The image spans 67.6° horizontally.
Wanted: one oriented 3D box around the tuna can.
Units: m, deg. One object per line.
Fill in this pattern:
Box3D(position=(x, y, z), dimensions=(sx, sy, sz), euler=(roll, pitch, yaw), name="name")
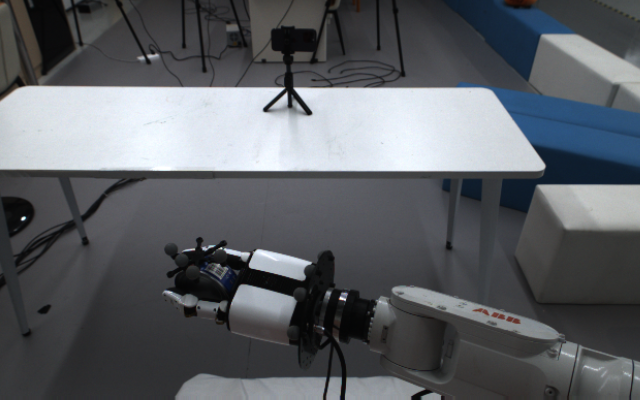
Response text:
Box3D(position=(-0.152, 0.117, 0.666), dimensions=(0.085, 0.085, 0.034), euler=(14, 40, 16), name="tuna can")
